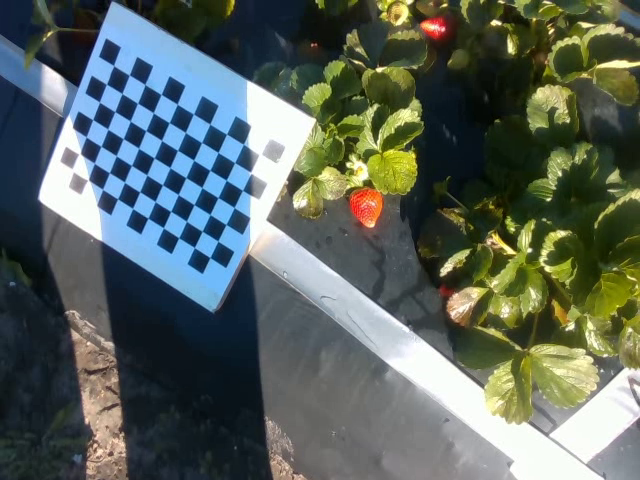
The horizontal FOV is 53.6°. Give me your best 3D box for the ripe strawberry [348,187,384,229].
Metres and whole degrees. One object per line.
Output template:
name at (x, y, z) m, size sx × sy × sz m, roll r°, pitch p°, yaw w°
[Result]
ripe strawberry at (0.056, -0.038, 0.780) m, size 0.048 × 0.055 × 0.029 m, roll -15°, pitch 3°, yaw 20°
